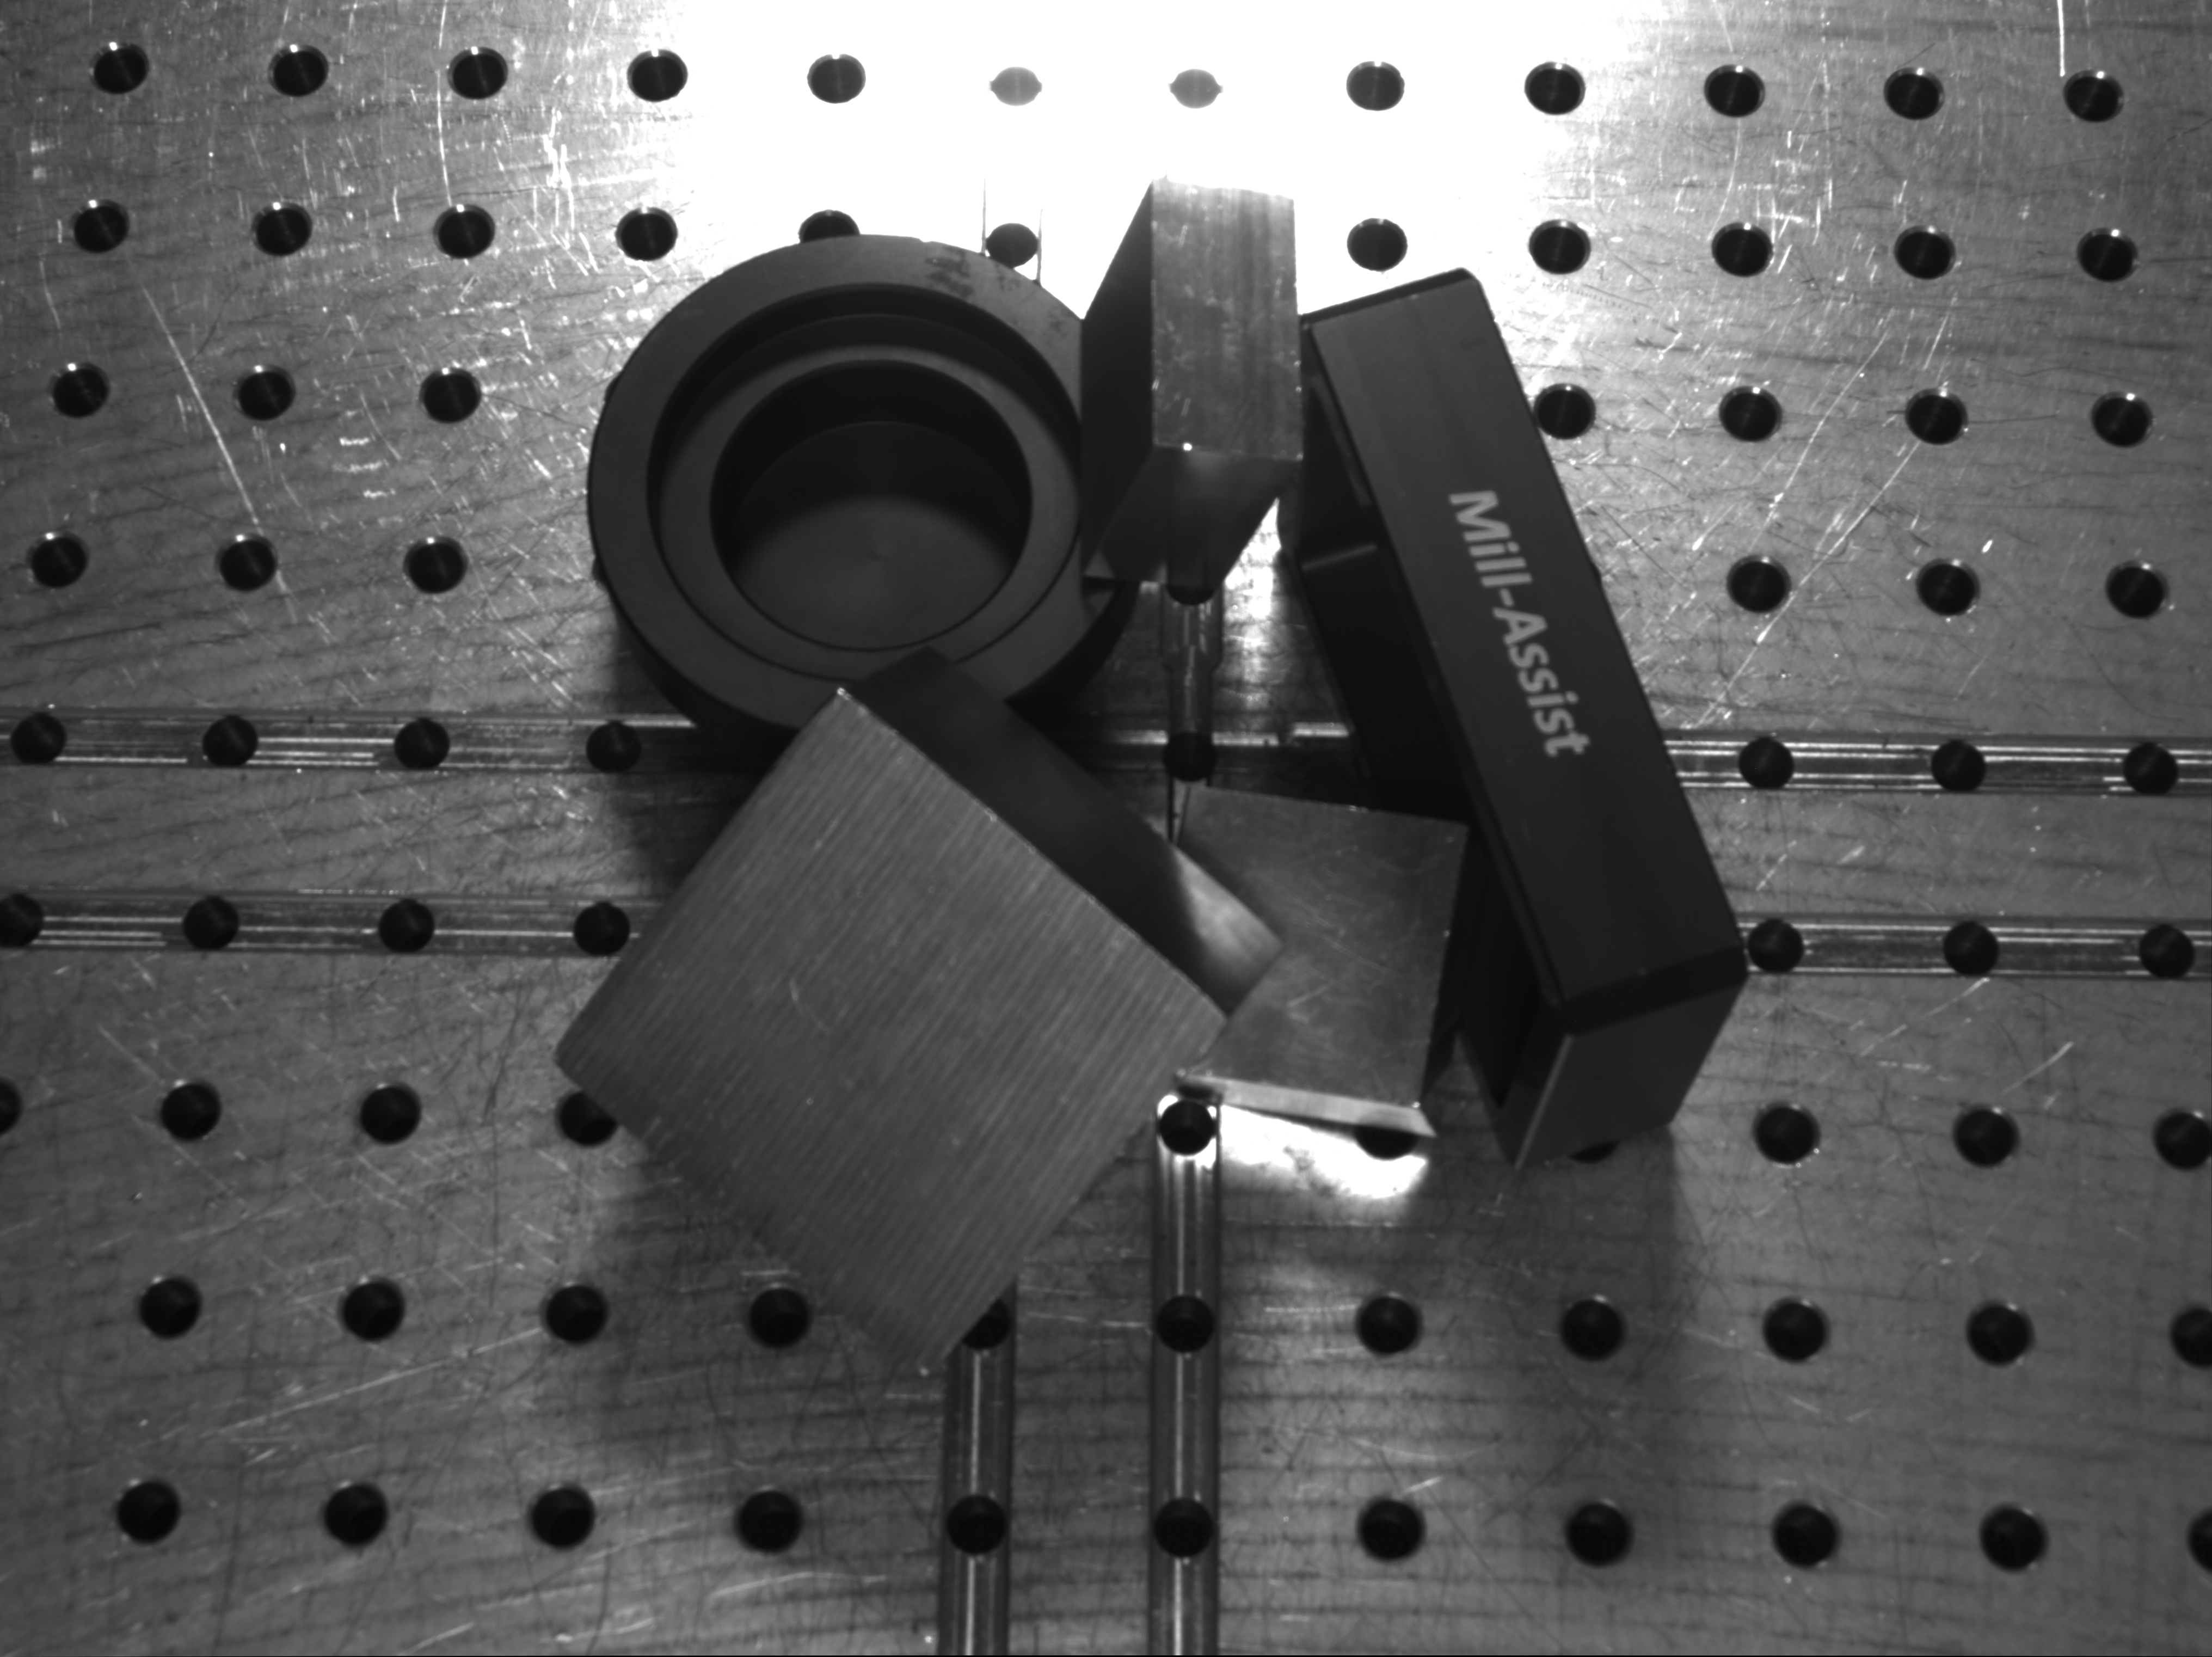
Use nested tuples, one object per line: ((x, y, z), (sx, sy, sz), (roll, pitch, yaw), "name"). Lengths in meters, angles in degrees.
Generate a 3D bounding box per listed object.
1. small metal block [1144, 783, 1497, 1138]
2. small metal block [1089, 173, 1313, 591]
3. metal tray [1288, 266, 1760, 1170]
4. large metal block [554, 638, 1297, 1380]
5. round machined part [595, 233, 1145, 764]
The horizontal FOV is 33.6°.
((0.038, 0.023, 0.634), (0.050, 0.025, 0.050), (8, 74, 15), "small metal block")
((0.015, -0.074, 0.618), (0.025, 0.050, 0.050), (5, 68, -13), "small metal block")
((0.067, -0.017, 0.619), (0.030, 0.090, 0.130), (-17, 71, -6), "metal tray")
((-0.028, 0.028, 0.599), (0.080, 0.050, 0.080), (40, 106, 2), "large metal block")
((-0.040, -0.054, 0.658), (0.098, 0.042, 0.098), (0, 70, 0), "round machined part")
